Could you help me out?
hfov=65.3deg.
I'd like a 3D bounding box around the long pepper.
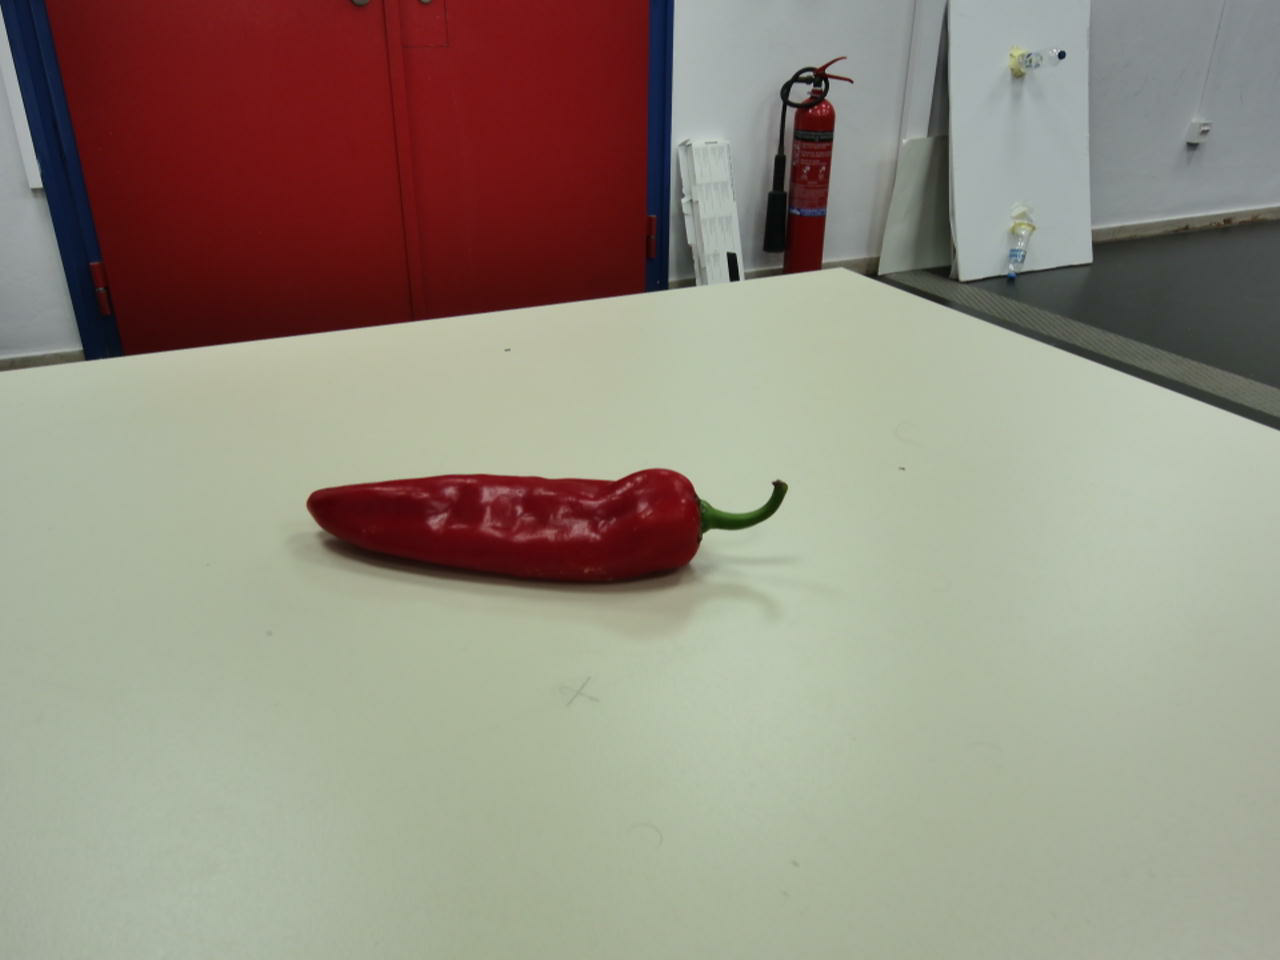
[{"bbox_3d":[-0.044,0.016,0.425,0.211,0.043,0.050,2,24,5],"label":"long pepper"}]
